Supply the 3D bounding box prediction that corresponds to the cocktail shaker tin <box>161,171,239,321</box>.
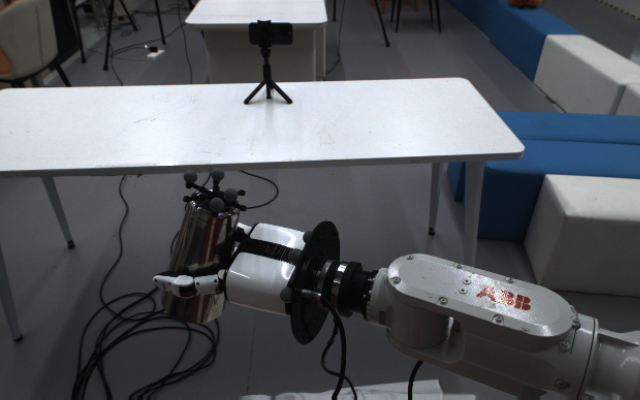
[{"bbox_3d":[-0.158,0.071,0.660,0.093,0.170,0.093,15,27,-8],"label":"cocktail shaker tin"}]
